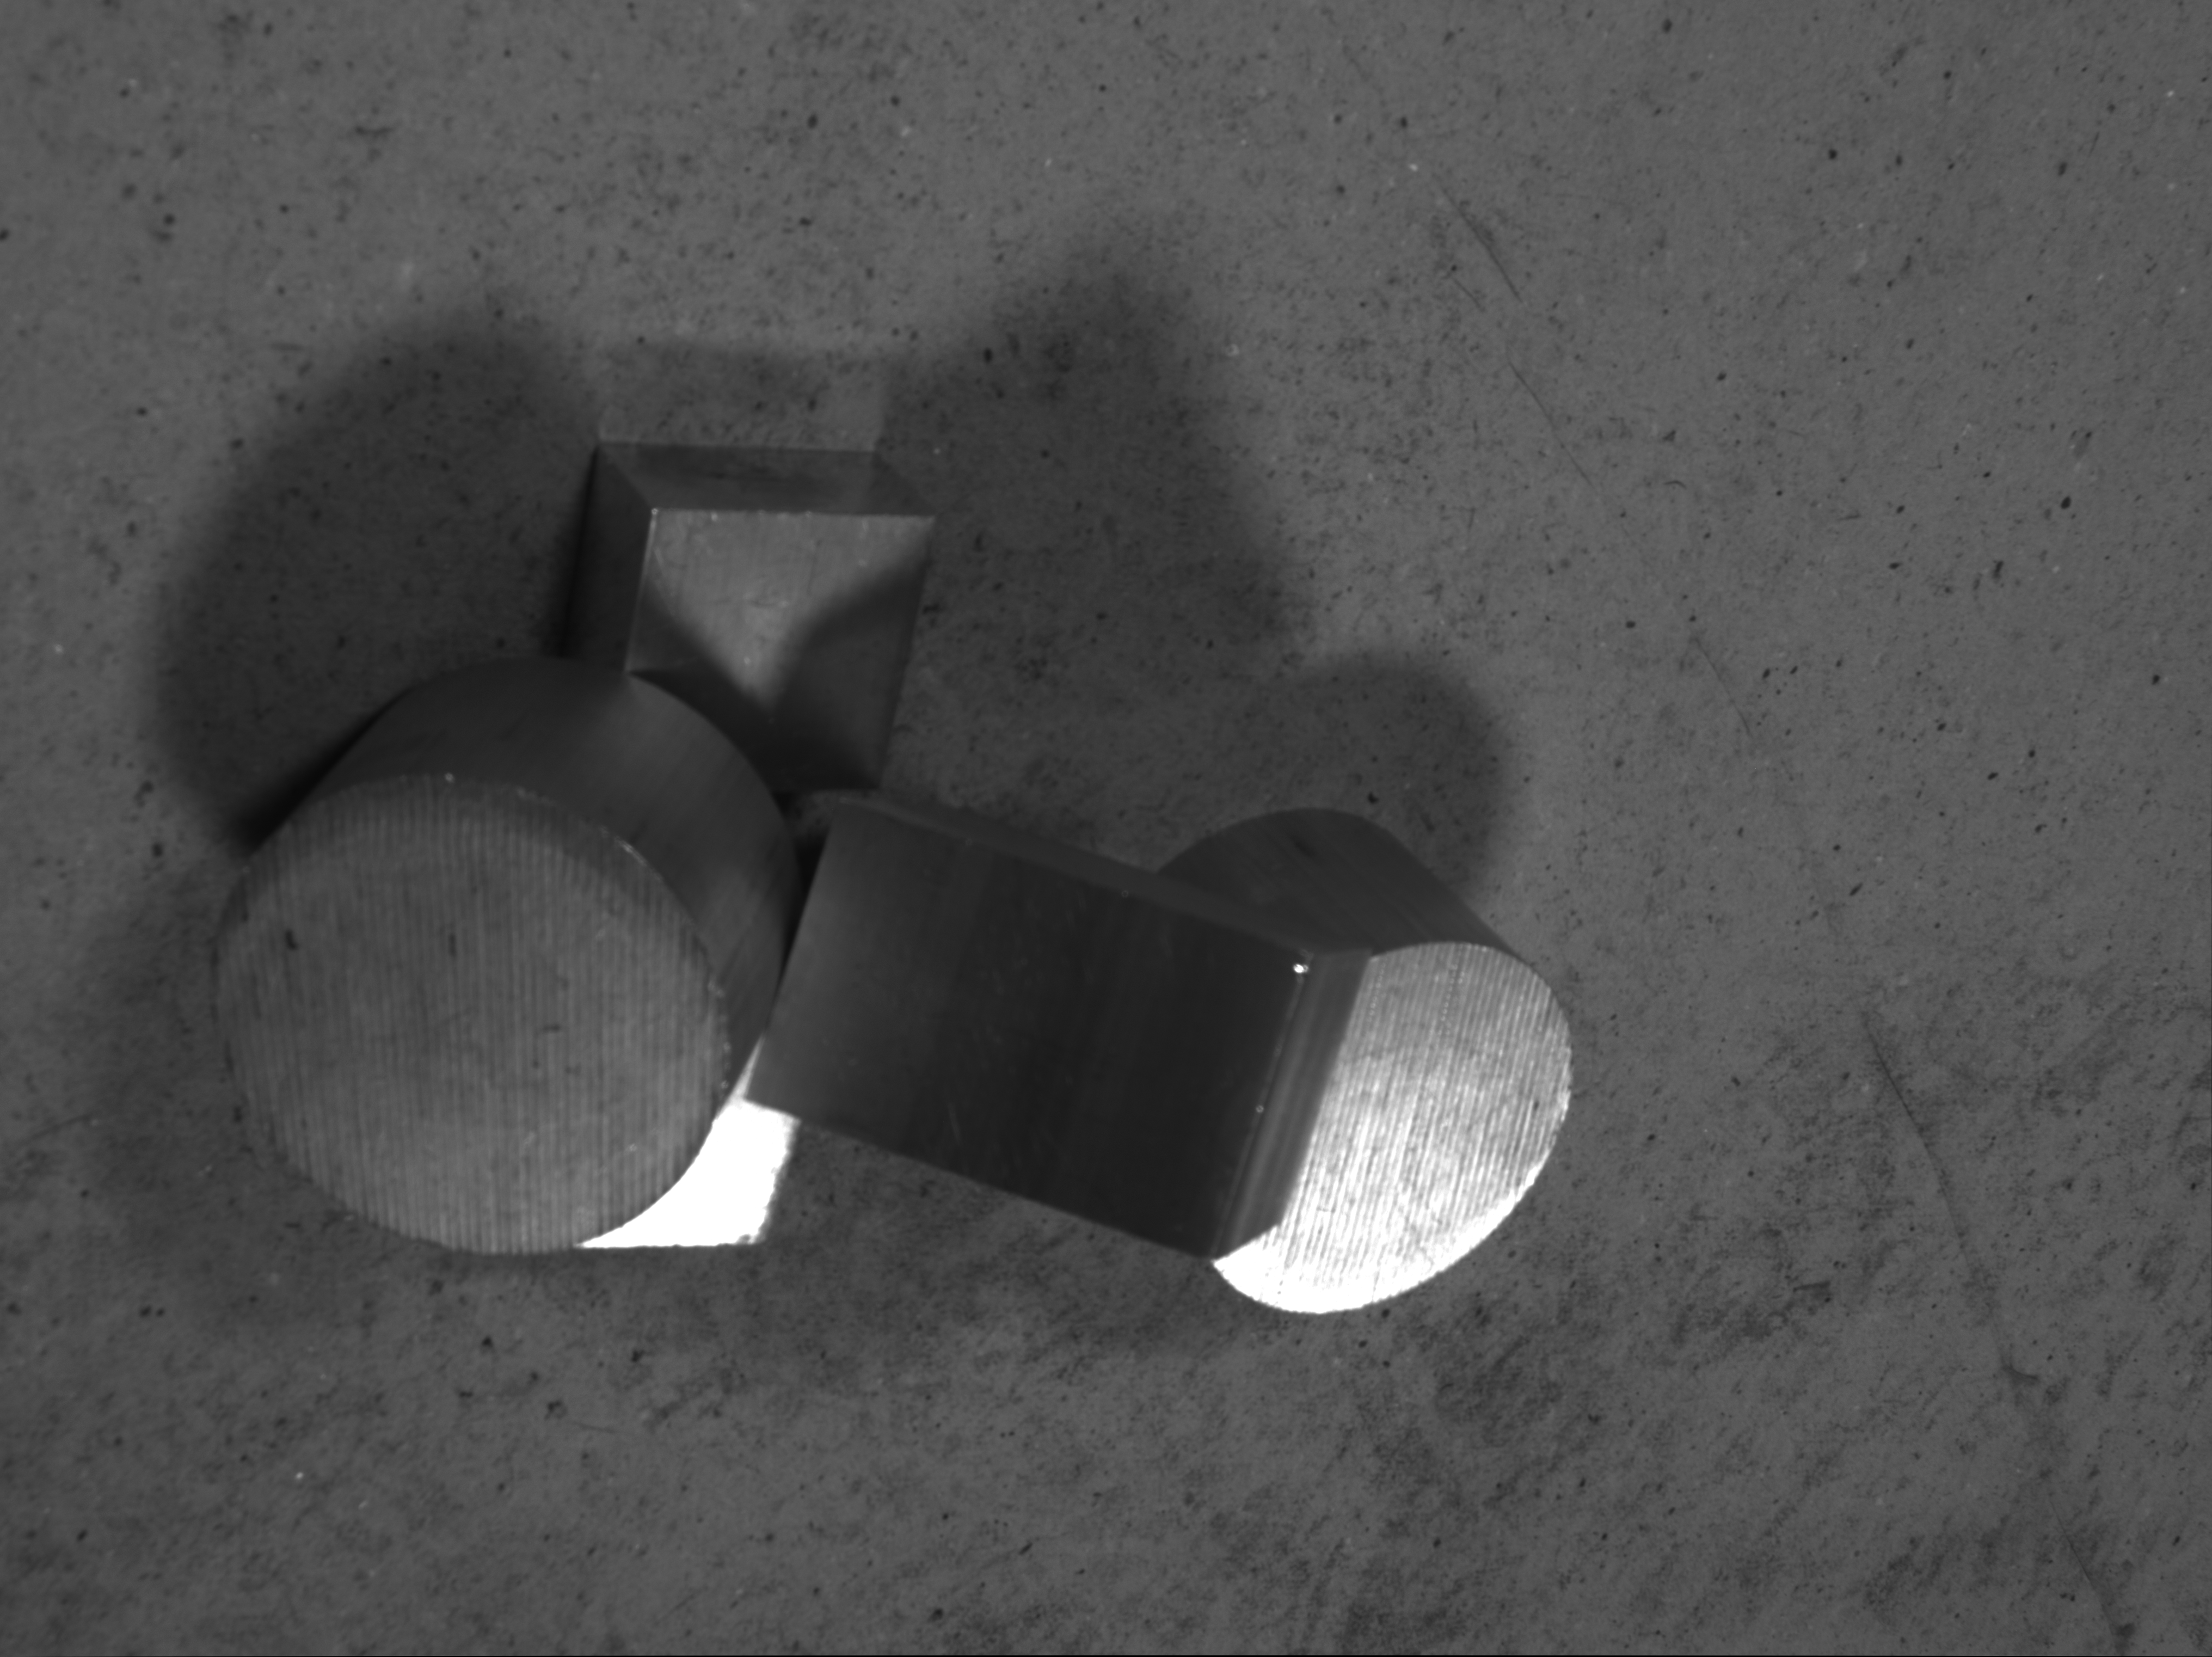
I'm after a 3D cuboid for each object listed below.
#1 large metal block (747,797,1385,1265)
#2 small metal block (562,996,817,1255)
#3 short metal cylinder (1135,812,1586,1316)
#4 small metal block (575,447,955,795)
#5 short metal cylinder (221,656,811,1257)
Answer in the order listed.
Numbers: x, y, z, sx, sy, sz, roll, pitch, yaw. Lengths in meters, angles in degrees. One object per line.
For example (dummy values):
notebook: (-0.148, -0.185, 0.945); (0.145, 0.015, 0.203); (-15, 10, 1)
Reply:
large metal block: (-0.004, 0.032, 0.608); (0.080, 0.080, 0.050); (4, 104, -79)
small metal block: (-0.077, 0.046, 0.634); (0.050, 0.025, 0.050); (3, 117, -32)
short metal cylinder: (0.043, 0.044, 0.687); (0.080, 0.050, 0.080); (-15, 125, -22)
small metal block: (-0.057, -0.033, 0.597); (0.050, 0.025, 0.050); (-1, 119, -30)
short metal cylinder: (-0.090, 0.019, 0.570); (0.080, 0.050, 0.080); (3, 114, 8)
